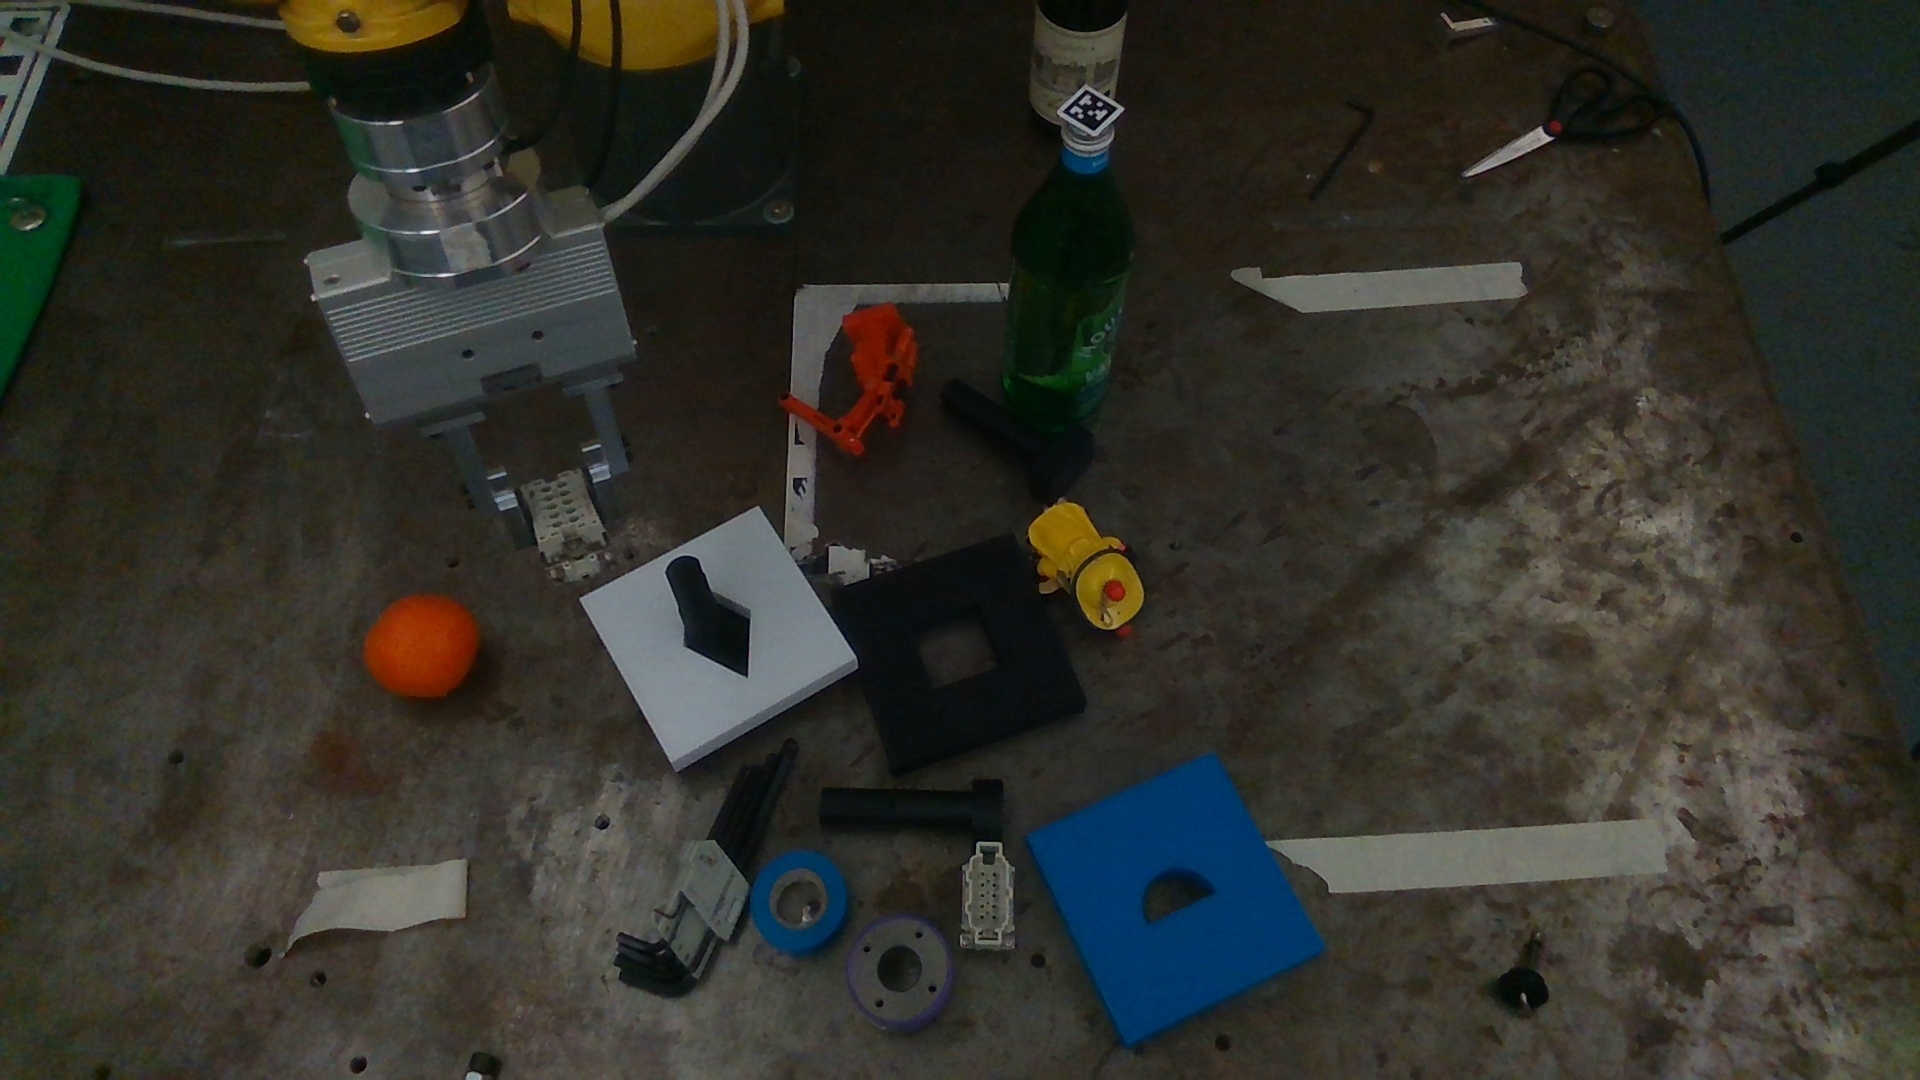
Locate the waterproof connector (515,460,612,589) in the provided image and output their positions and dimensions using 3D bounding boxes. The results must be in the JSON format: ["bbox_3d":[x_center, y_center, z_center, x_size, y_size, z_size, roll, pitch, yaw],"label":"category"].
[{"bbox_3d":[-0.201,-0.008,0.705,0.036,0.038,0.069,-19,50,-11],"label":"waterproof connector"}]
